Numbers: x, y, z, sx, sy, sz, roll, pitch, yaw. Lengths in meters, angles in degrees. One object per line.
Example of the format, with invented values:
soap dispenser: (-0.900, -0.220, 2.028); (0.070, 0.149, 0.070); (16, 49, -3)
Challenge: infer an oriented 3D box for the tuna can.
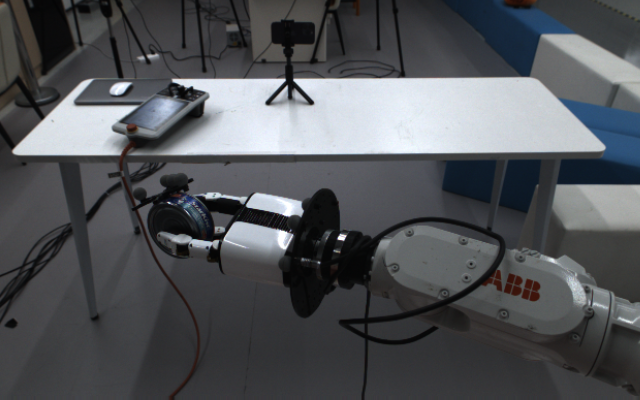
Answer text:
tuna can: (-0.183, 0.041, 0.643); (0.085, 0.085, 0.034); (14, 30, 17)
